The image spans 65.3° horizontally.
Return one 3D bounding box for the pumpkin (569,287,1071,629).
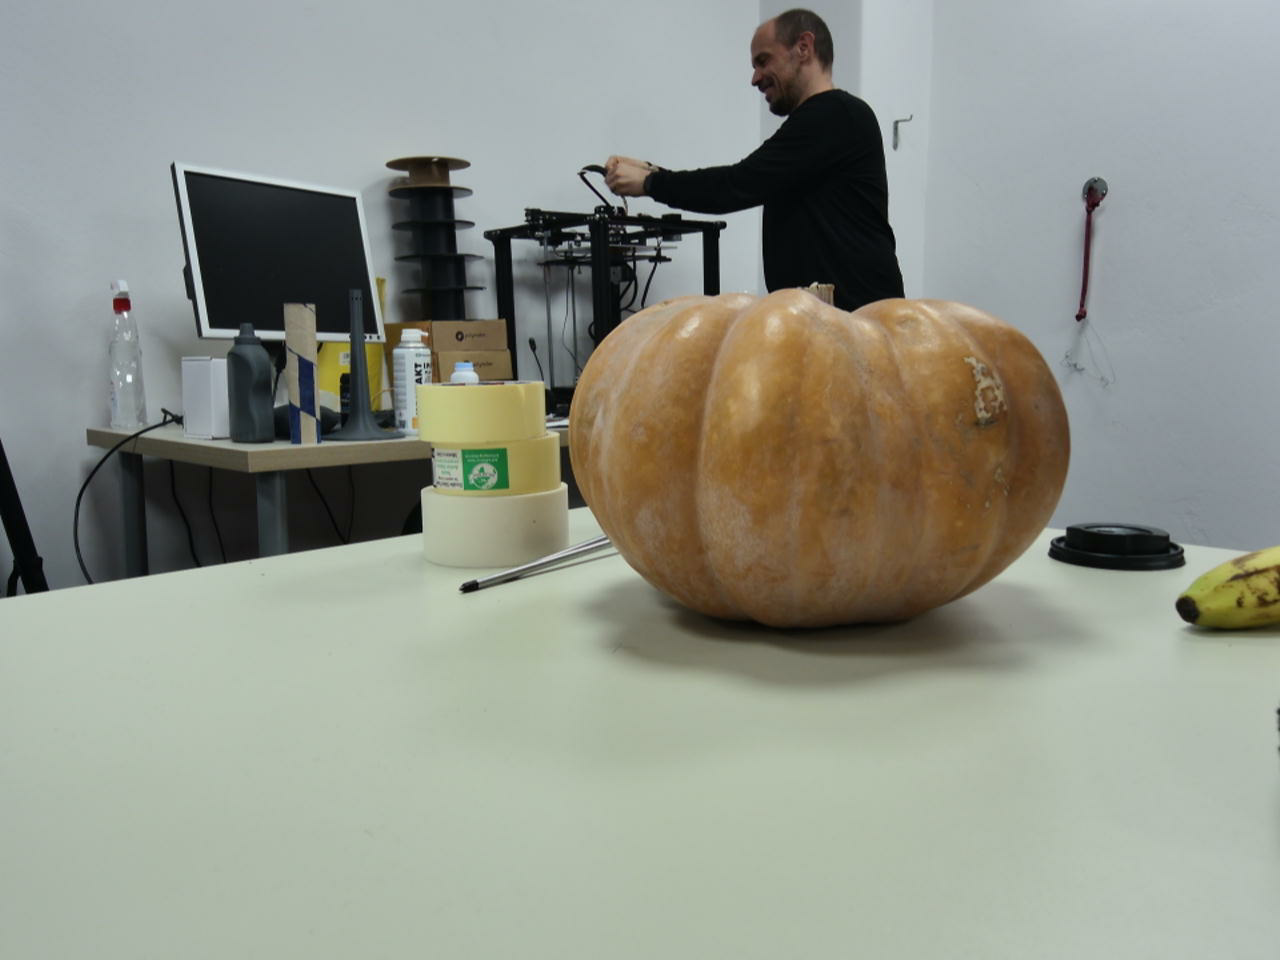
[{"bbox_3d":[0.091,-0.015,0.565,0.277,0.181,0.277,0,5,0],"label":"pumpkin"}]
